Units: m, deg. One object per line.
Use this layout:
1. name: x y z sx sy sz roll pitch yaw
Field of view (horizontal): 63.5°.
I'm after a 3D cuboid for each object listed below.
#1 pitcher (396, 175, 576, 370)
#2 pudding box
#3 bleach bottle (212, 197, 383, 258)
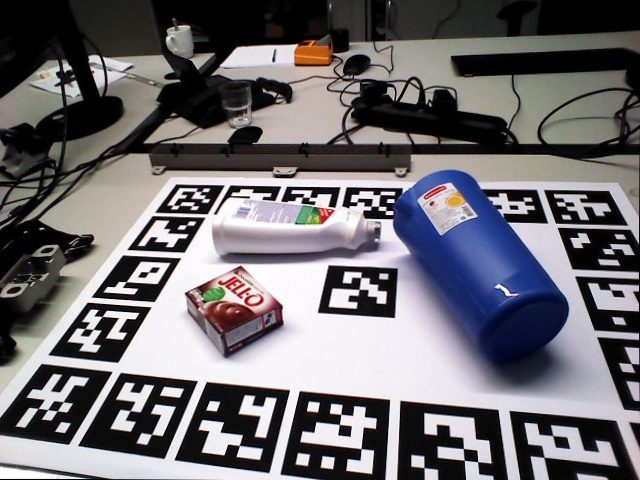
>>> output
1. pitcher: 0.207 0.039 0.648 0.188 0.134 0.242 16 32 -29
2. pudding box: -0.117 0.088 0.672 0.089 0.039 0.114 -21 40 -28
3. bleach bottle: -0.030 -0.019 0.791 0.252 0.068 0.102 1 41 7
